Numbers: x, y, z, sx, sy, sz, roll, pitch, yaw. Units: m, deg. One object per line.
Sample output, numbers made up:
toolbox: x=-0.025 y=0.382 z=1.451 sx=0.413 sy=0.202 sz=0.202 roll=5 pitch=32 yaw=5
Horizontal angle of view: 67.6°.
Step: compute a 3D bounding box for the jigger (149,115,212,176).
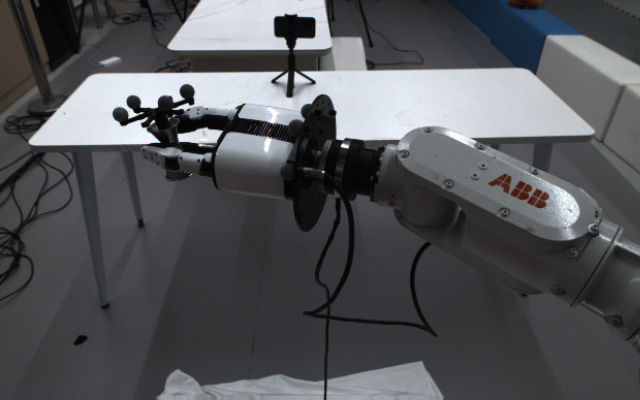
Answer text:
jigger: x=-0.182 y=-0.063 z=0.605 sx=0.043 sy=0.071 sz=0.043 roll=-10 pitch=33 yaw=6
